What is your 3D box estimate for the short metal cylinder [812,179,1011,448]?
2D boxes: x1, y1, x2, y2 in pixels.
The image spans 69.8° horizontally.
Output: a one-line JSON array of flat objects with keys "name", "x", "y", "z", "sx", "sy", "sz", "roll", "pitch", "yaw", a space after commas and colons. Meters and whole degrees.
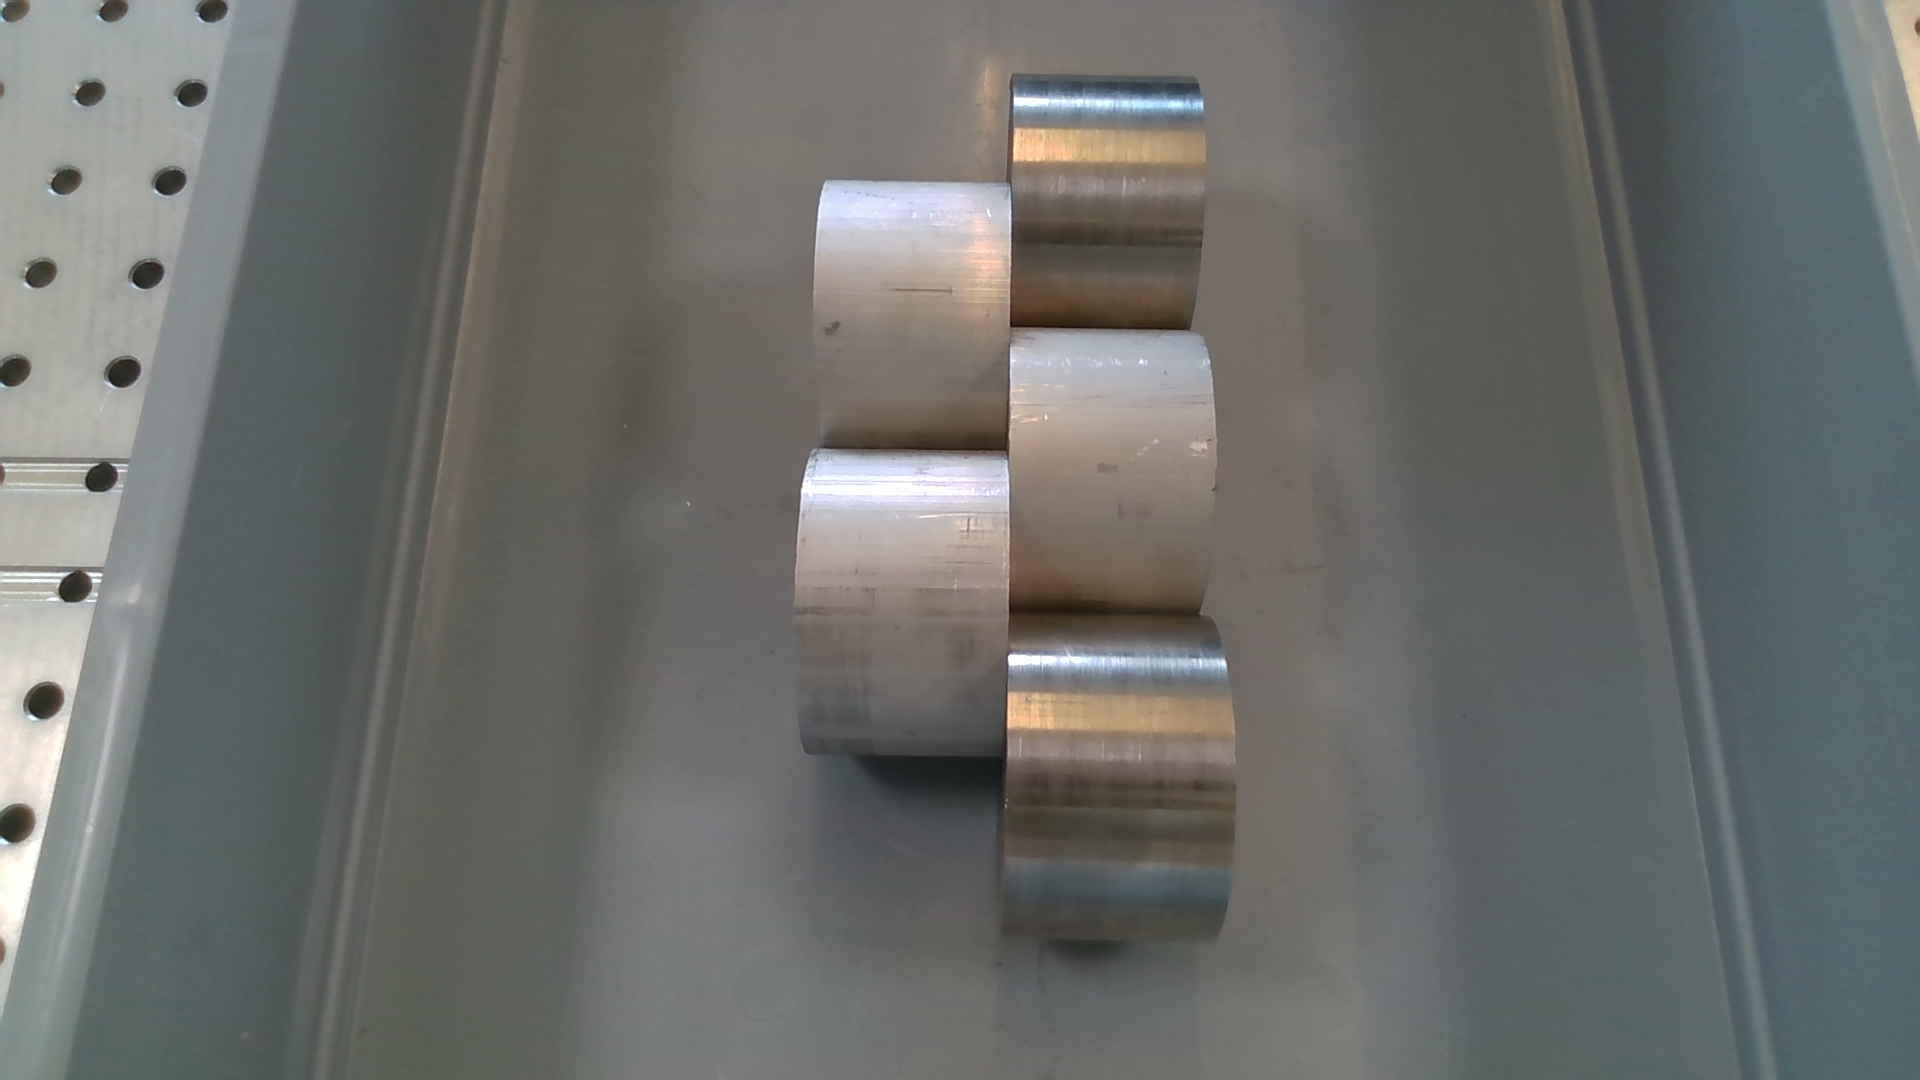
[{"name": "short metal cylinder", "x": -0.012, "y": -0.061, "z": 0.387, "sx": 0.050, "sy": 0.080, "sz": 0.080, "roll": 1, "pitch": 70, "yaw": 0}]

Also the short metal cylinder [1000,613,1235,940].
[{"name": "short metal cylinder", "x": 0.036, "y": 0.058, "z": 0.344, "sx": 0.050, "sy": 0.080, "sz": 0.080, "roll": 2, "pitch": 70, "yaw": 1}]

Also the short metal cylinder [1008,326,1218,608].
[{"name": "short metal cylinder", "x": 0.037, "y": -0.017, "z": 0.371, "sx": 0.050, "sy": 0.080, "sz": 0.080, "roll": 1, "pitch": 70, "yaw": 0}]

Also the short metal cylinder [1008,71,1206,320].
[{"name": "short metal cylinder", "x": 0.039, "y": -0.093, "z": 0.398, "sx": 0.050, "sy": 0.080, "sz": 0.080, "roll": 1, "pitch": 70, "yaw": 0}]

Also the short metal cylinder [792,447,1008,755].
[{"name": "short metal cylinder", "x": -0.014, "y": 0.016, "z": 0.359, "sx": 0.050, "sy": 0.080, "sz": 0.080, "roll": 1, "pitch": 70, "yaw": 0}]
